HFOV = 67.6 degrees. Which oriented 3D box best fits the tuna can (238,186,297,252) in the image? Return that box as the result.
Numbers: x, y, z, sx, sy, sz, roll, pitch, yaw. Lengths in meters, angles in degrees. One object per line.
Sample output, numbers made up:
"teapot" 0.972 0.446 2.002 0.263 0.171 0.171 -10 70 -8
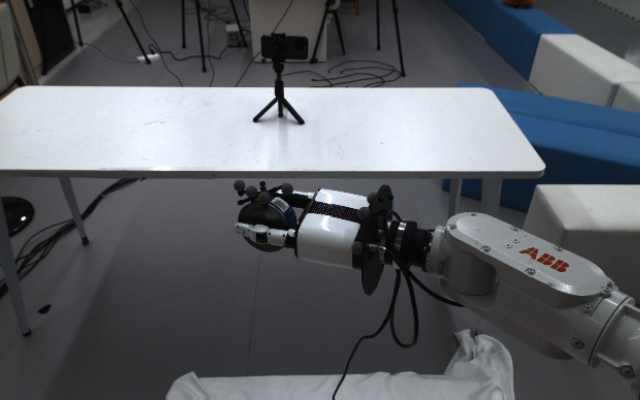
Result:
"tuna can" -0.078 0.034 0.735 0.085 0.085 0.034 14 29 17
